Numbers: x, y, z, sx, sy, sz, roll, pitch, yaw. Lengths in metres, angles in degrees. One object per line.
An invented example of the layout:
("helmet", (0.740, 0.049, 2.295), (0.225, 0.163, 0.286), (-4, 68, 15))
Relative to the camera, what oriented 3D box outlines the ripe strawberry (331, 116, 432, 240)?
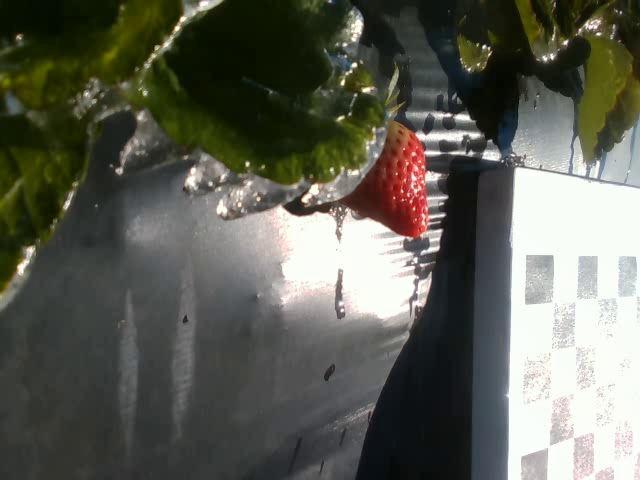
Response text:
("ripe strawberry", (0.024, -0.021, 0.217), (0.039, 0.053, 0.041), (-25, 1, -37))
